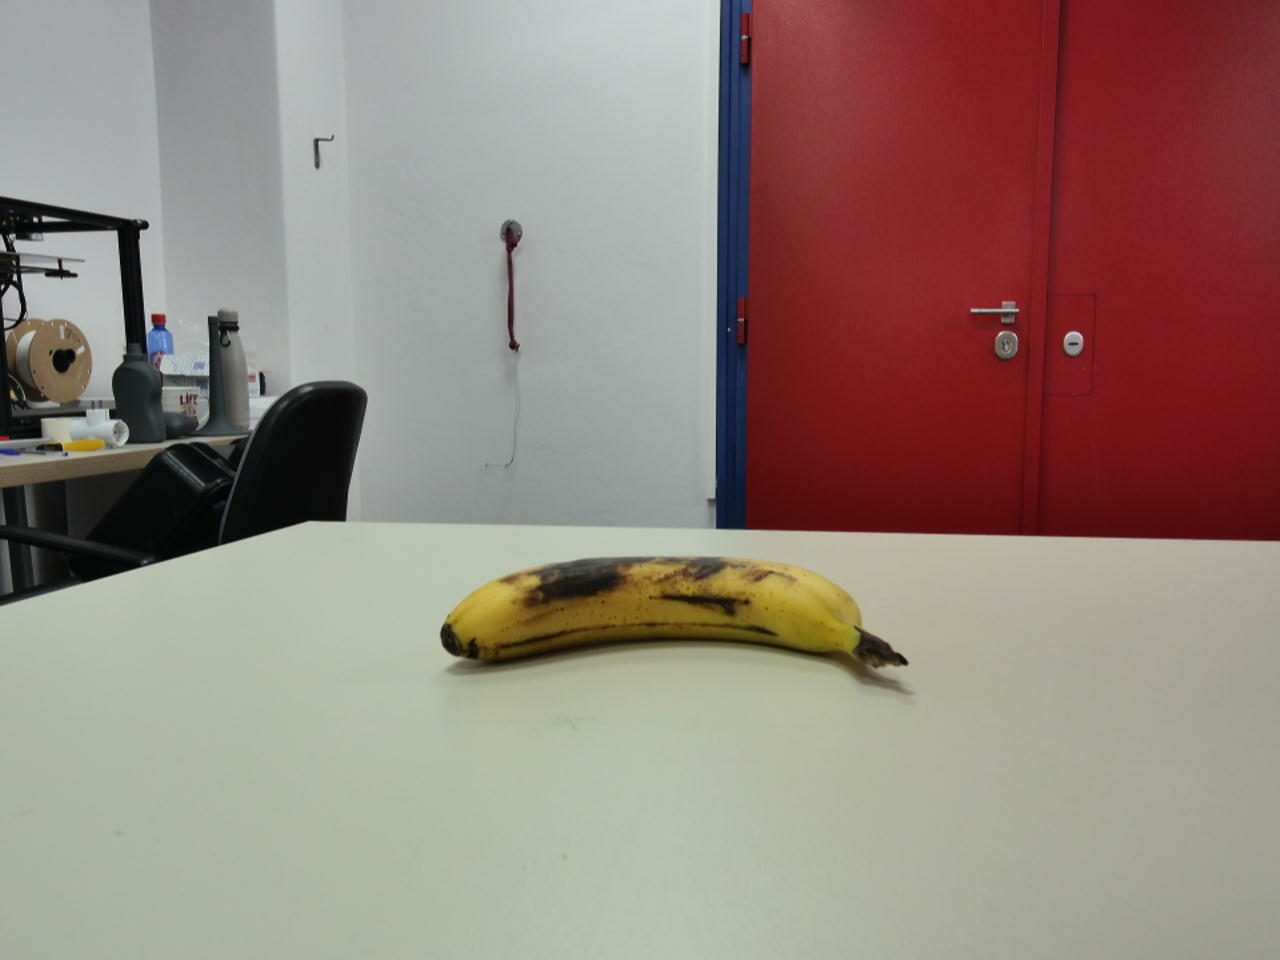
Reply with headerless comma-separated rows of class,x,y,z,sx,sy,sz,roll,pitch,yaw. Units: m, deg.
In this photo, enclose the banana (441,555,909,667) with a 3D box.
banana,0.016,0.057,0.437,0.187,0.039,0.094,1,4,10
